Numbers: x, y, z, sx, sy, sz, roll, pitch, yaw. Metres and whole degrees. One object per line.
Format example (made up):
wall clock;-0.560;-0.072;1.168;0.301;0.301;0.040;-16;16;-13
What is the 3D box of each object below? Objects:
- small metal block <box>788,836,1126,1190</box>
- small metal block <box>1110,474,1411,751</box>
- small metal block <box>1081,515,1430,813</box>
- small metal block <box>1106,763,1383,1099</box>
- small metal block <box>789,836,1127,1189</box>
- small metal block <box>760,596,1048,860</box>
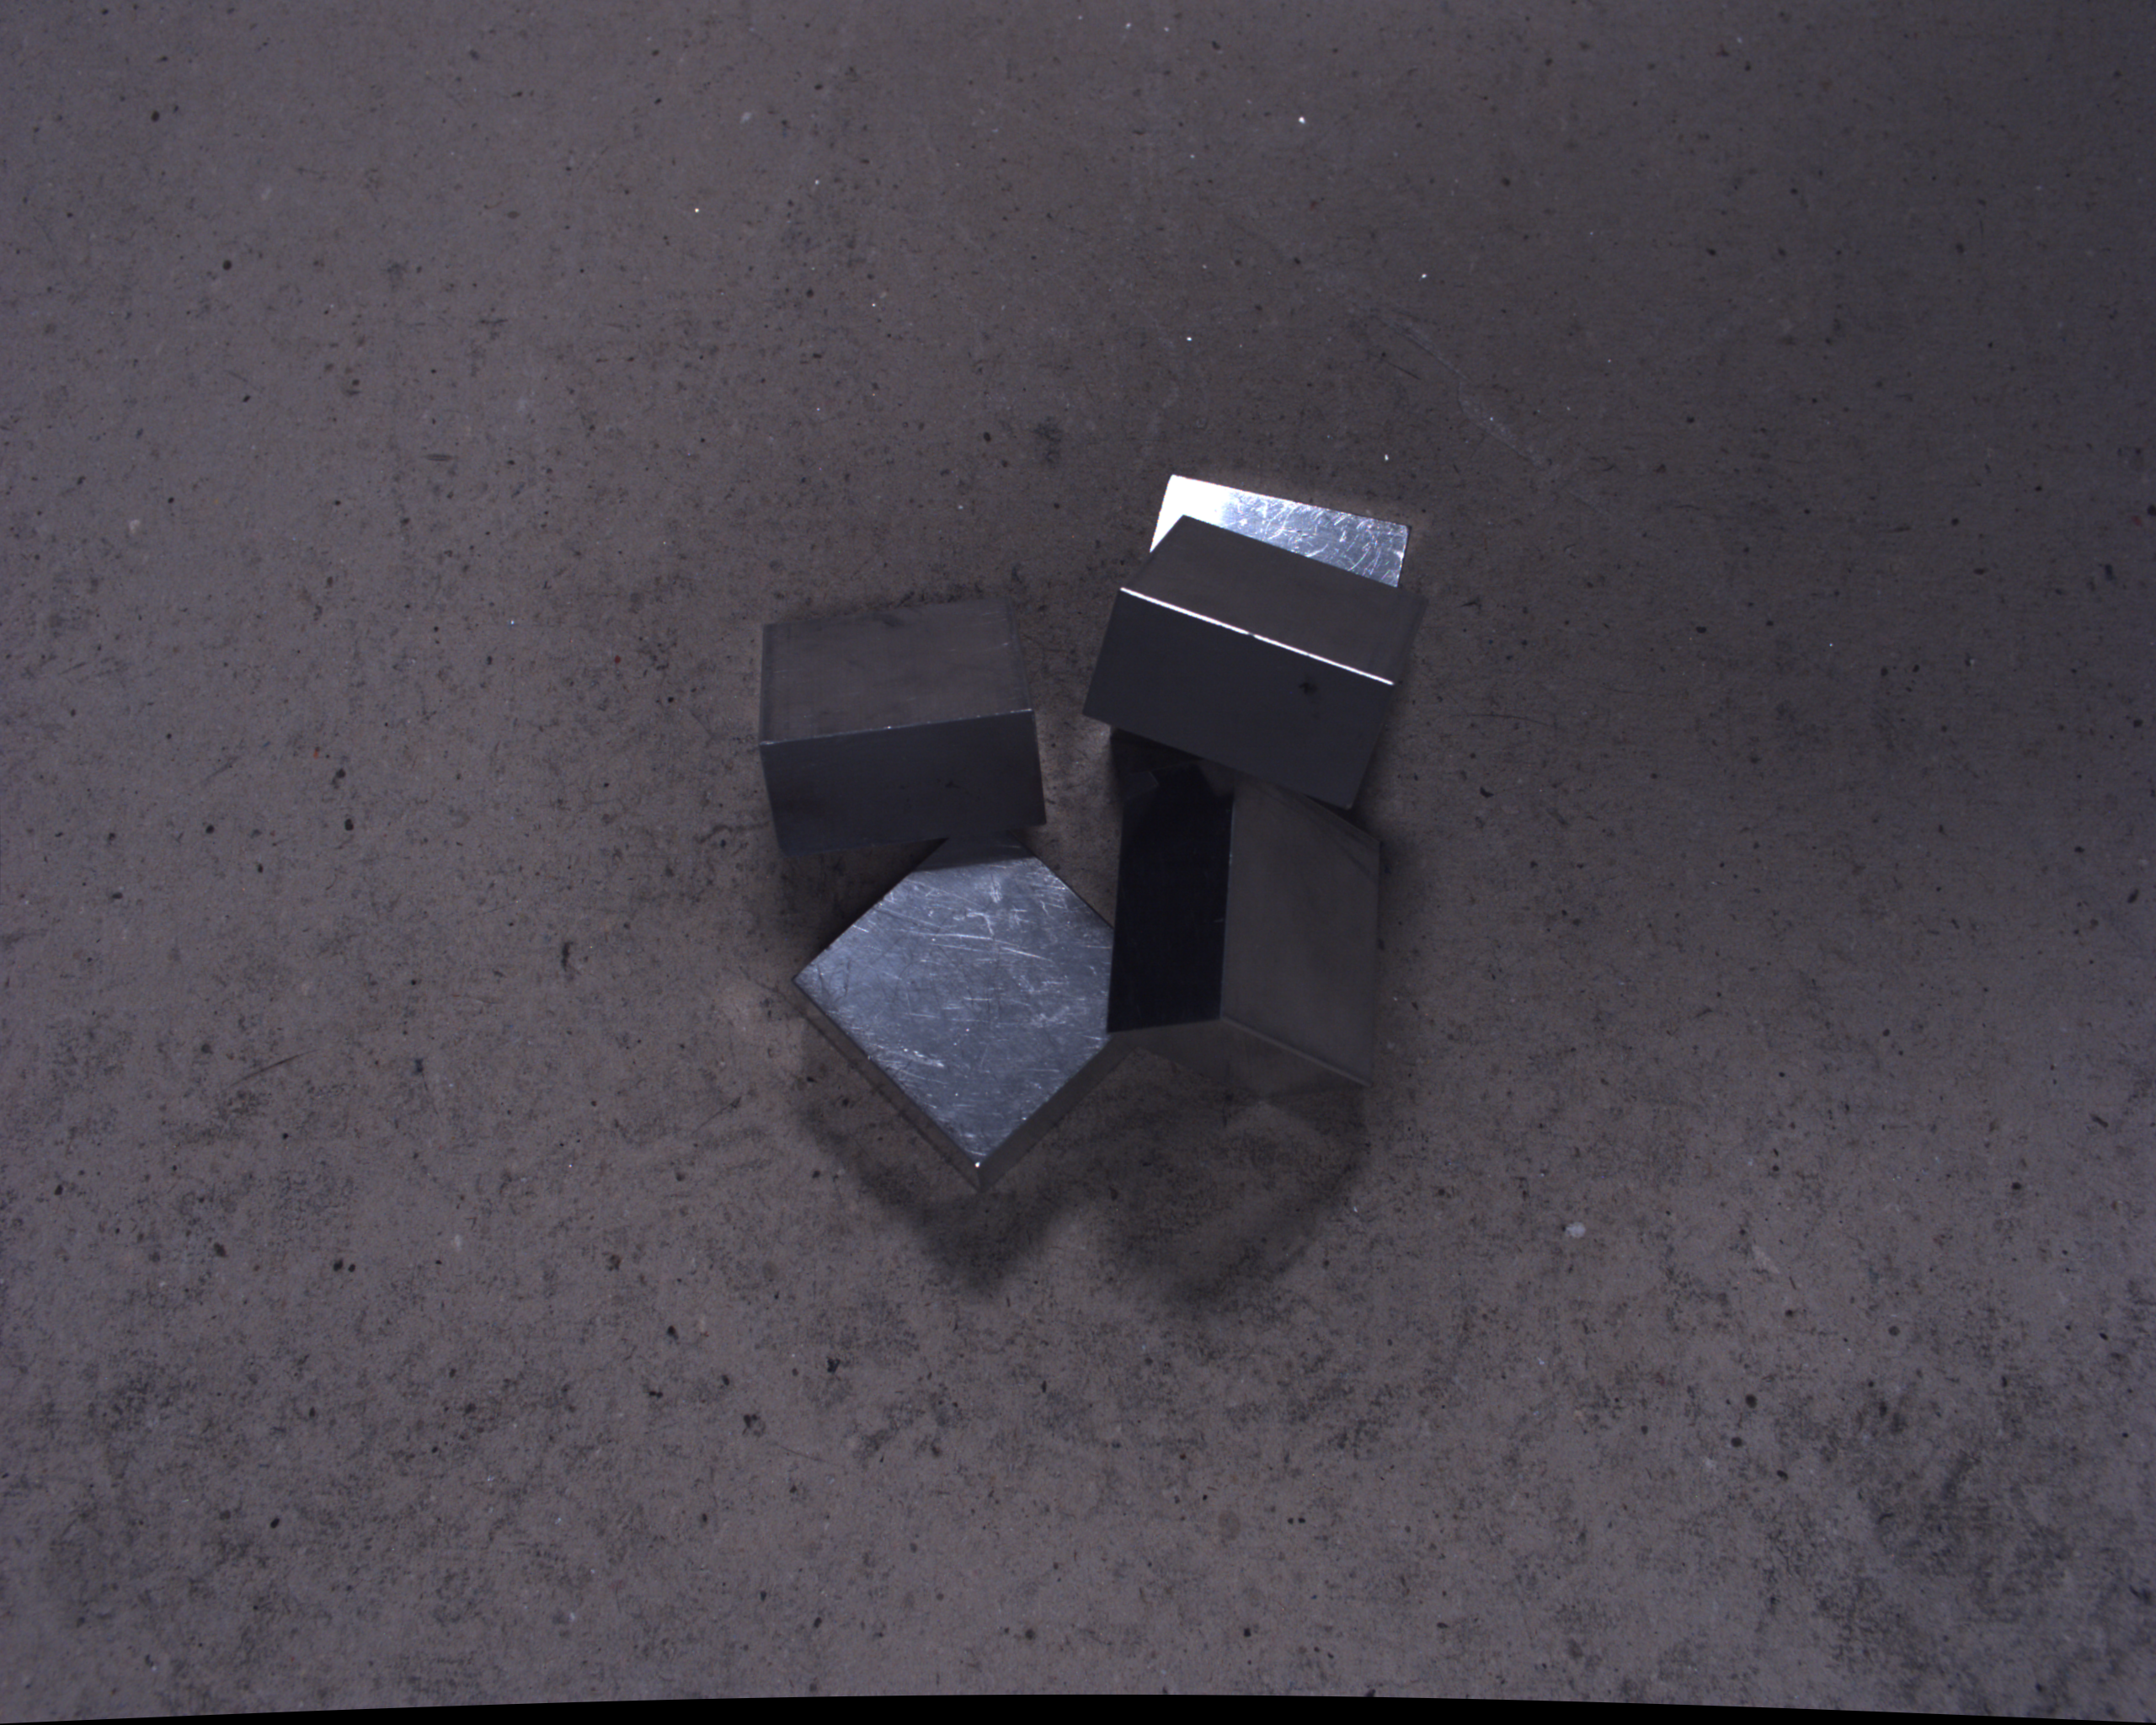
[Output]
small metal block;-0.018;0.026;0.400;0.050;0.025;0.050;-43;76;-14
small metal block;0.037;-0.047;0.427;0.050;0.025;0.050;13;70;4
small metal block;0.034;-0.038;0.383;0.050;0.025;0.050;20;28;7
small metal block;0.032;0.013;0.389;0.025;0.050;0.050;-11;64;37
small metal block;-0.018;0.026;0.400;0.050;0.025;0.050;-43;76;-14
small metal block;-0.034;-0.027;0.406;0.050;0.025;0.050;-7;33;-3
